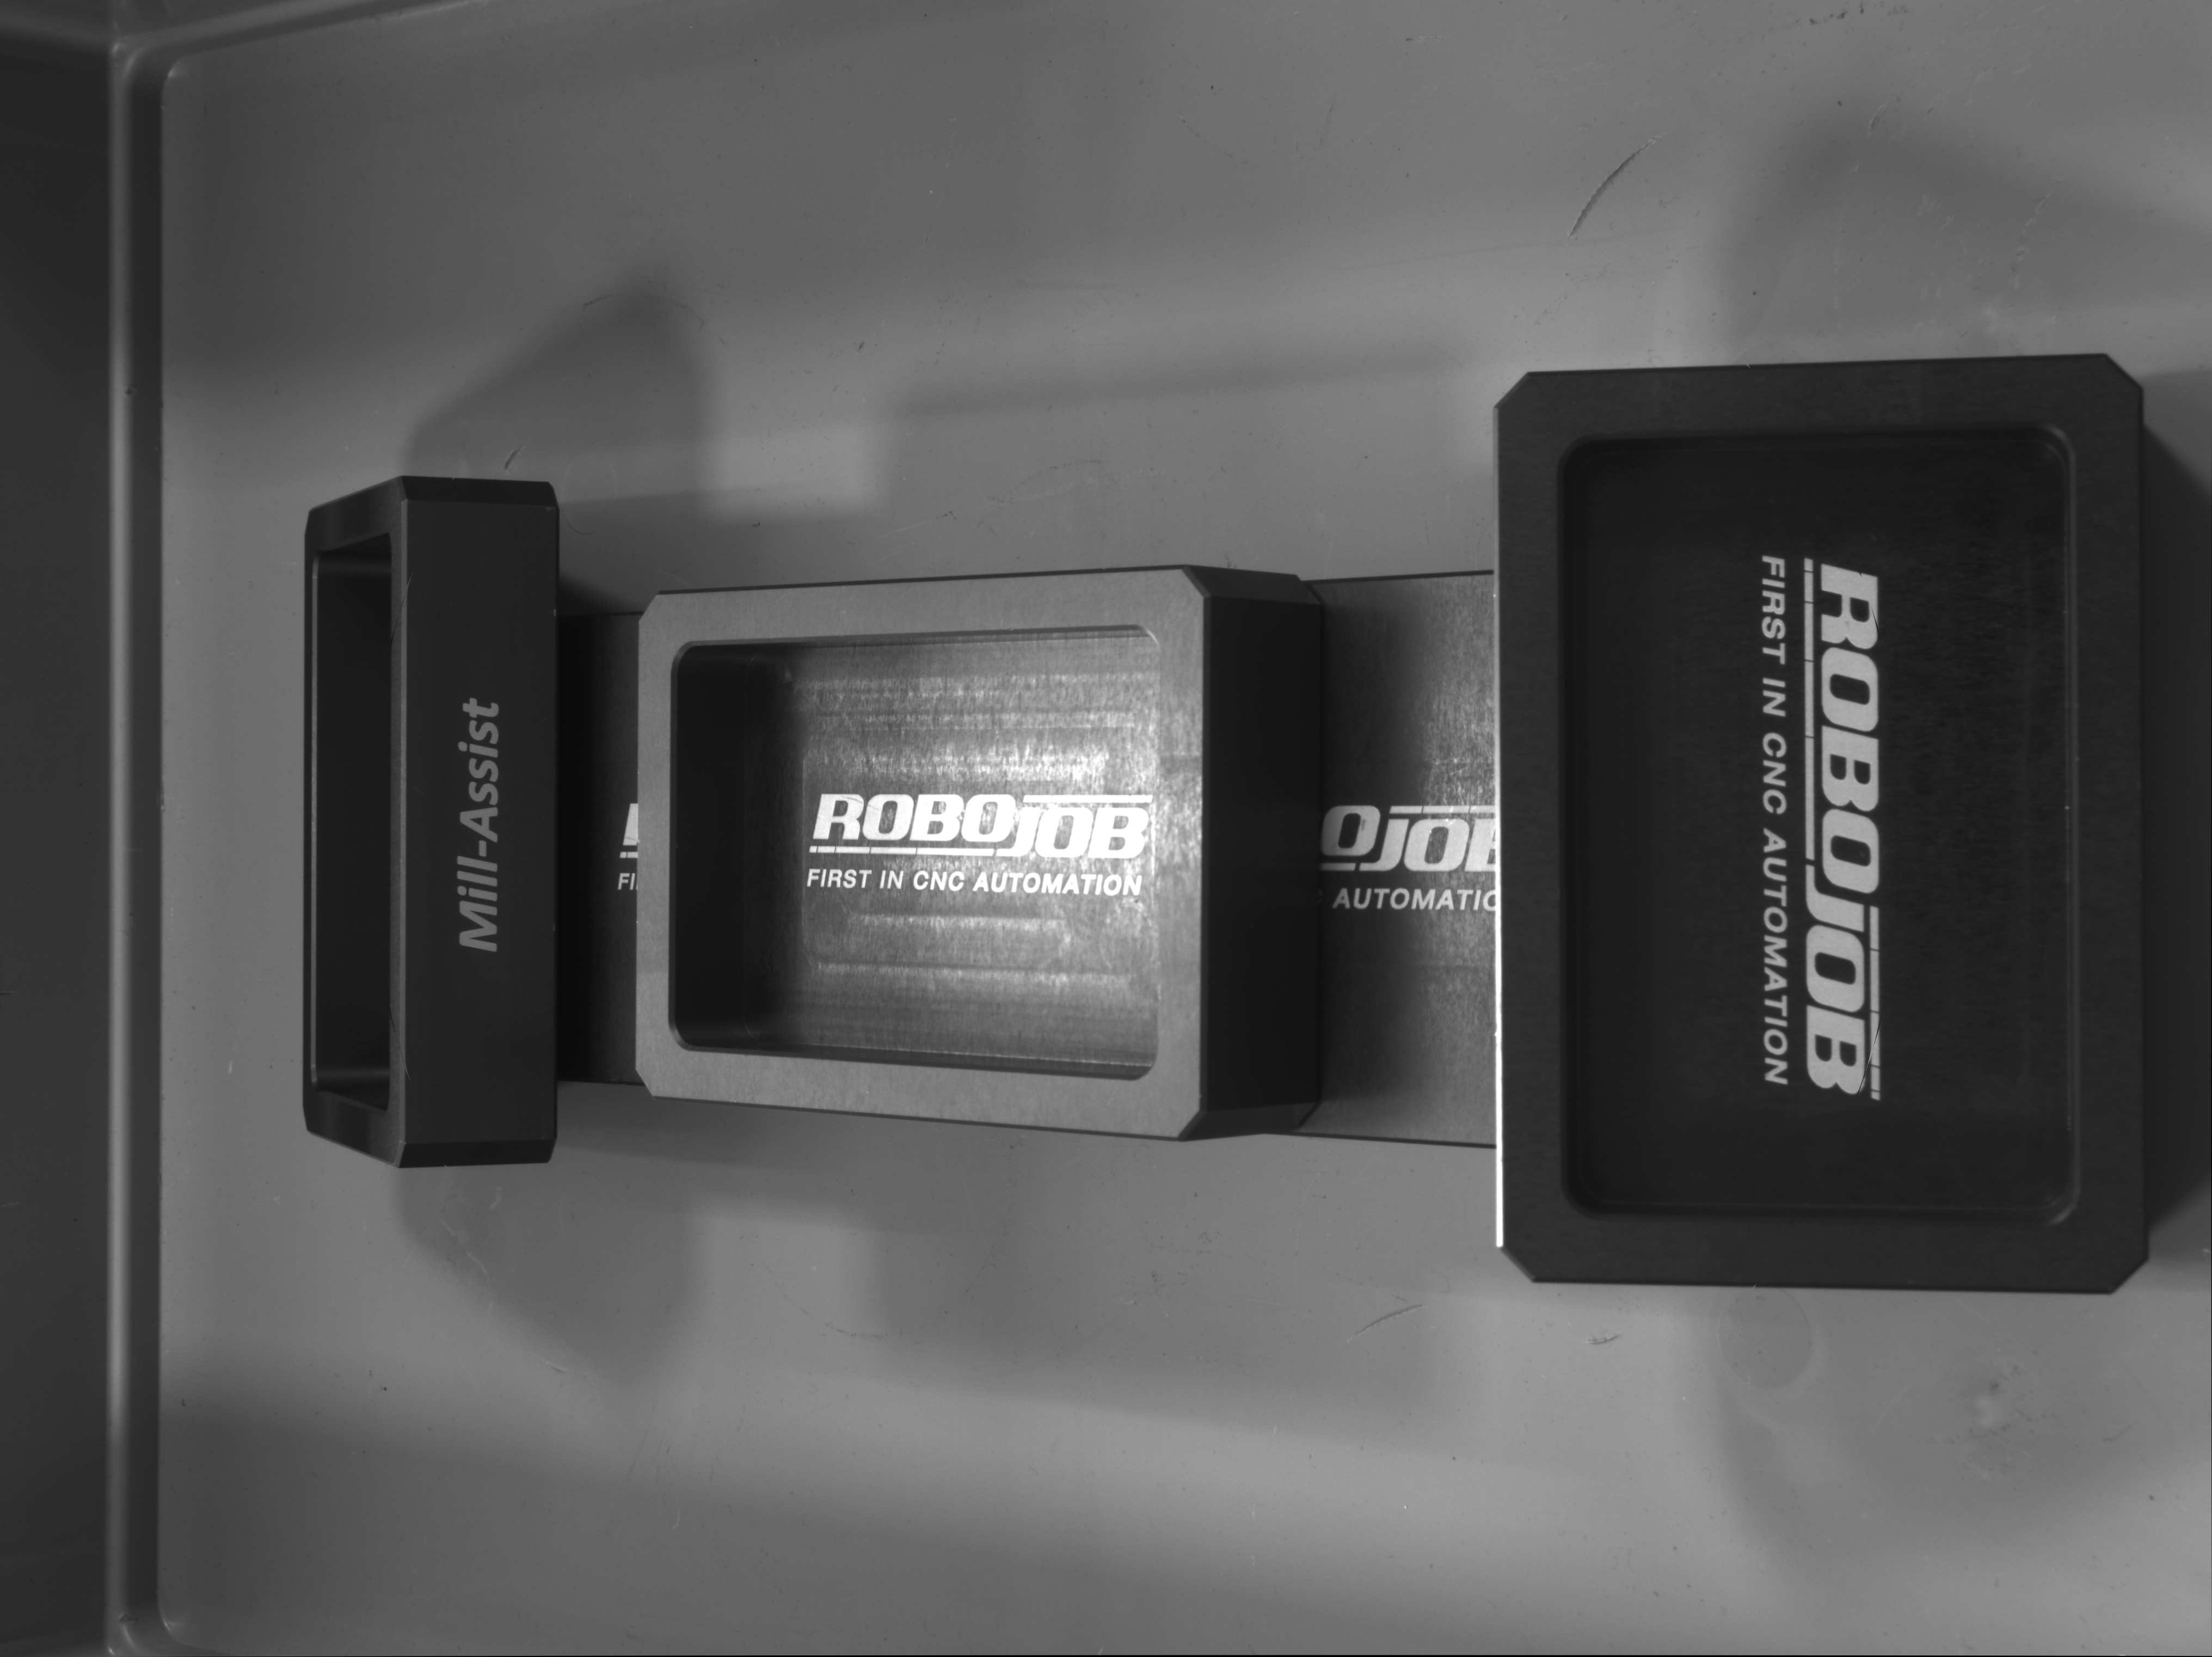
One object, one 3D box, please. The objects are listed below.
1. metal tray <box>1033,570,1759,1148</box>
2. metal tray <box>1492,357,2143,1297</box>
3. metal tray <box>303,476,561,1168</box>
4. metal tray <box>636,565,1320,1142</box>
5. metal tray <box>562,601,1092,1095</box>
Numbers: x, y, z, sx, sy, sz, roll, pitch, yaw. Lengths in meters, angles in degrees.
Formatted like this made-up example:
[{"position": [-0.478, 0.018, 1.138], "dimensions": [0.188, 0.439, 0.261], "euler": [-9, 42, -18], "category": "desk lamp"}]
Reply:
[{"position": [0.046, 0.005, 0.602], "dimensions": [0.129, 0.030, 0.090], "euler": [0, 90, 40], "category": "metal tray"}, {"position": [0.102, 0.000, 0.529], "dimensions": [0.090, 0.030, 0.130], "euler": [0, 90, 12], "category": "metal tray"}, {"position": [-0.136, -0.001, 0.731], "dimensions": [0.090, 0.030, 0.130], "euler": [-179, 89, -66], "category": "metal tray"}, {"position": [-0.025, 0.004, 0.621], "dimensions": [0.129, 0.030, 0.090], "euler": [1, 90, 40], "category": "metal tray"}, {"position": [-0.053, 0.004, 0.686], "dimensions": [0.129, 0.030, 0.090], "euler": [0, 90, 40], "category": "metal tray"}]
